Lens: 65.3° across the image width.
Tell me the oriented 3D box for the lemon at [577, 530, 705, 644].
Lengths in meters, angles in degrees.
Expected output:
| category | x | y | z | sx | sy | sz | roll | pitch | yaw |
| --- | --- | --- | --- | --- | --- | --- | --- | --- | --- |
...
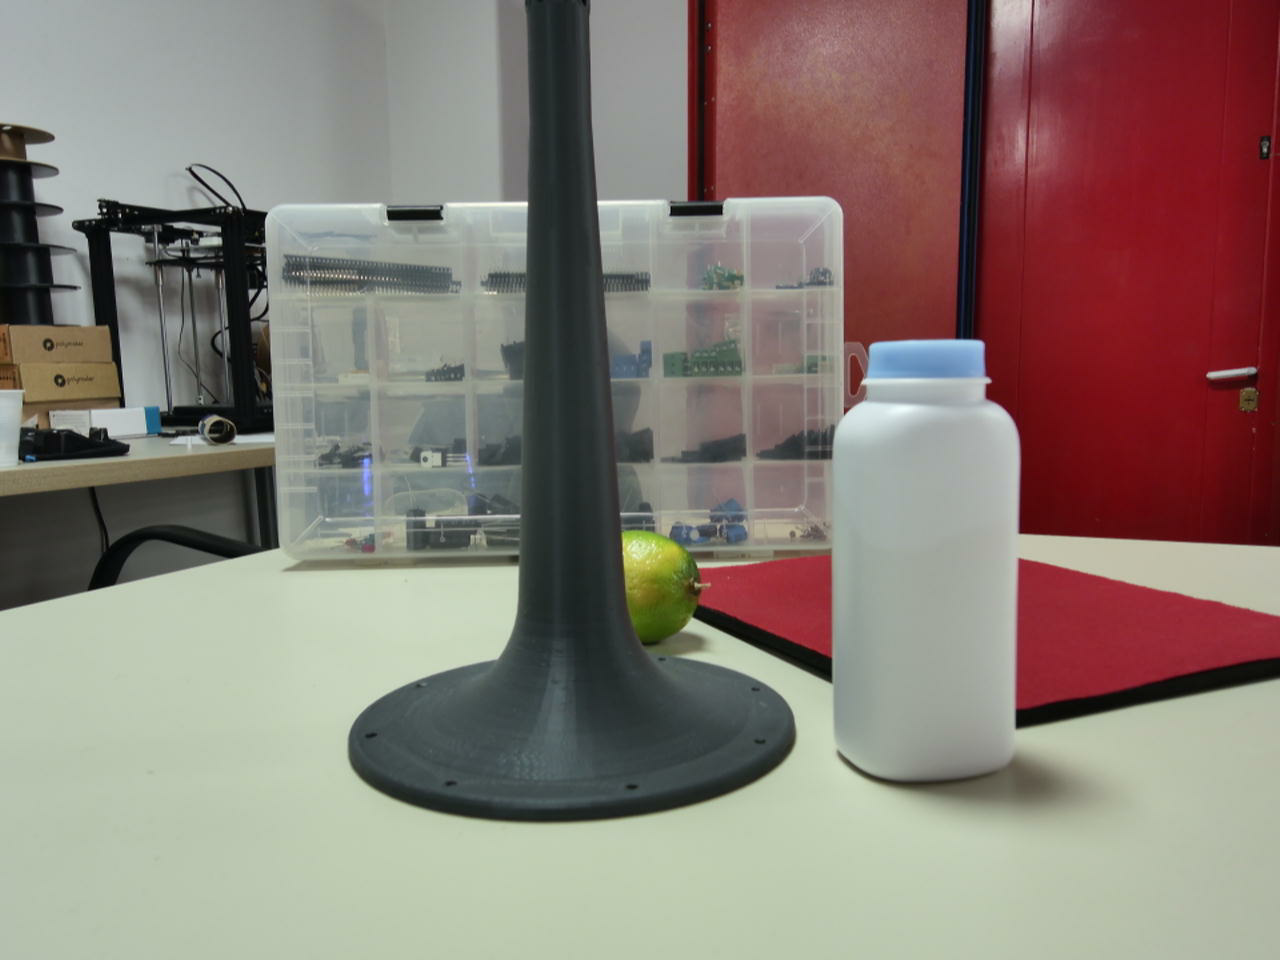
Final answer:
| category | x | y | z | sx | sy | sz | roll | pitch | yaw |
| --- | --- | --- | --- | --- | --- | --- | --- | --- | --- |
| lemon | -0.001 | 0.048 | 0.458 | 0.054 | 0.050 | 0.055 | -2 | 4 | -15 |
